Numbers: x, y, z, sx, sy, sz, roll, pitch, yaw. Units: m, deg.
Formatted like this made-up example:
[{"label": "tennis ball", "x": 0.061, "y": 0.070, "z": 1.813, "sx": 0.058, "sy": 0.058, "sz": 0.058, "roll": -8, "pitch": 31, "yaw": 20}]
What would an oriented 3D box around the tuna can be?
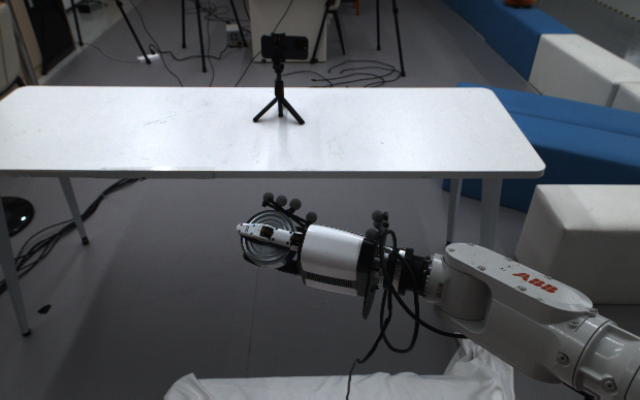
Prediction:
[{"label": "tuna can", "x": -0.074, "y": 0.059, "z": 0.736, "sx": 0.085, "sy": 0.034, "sz": 0.085, "roll": -4, "pitch": 67, "yaw": 10}]
